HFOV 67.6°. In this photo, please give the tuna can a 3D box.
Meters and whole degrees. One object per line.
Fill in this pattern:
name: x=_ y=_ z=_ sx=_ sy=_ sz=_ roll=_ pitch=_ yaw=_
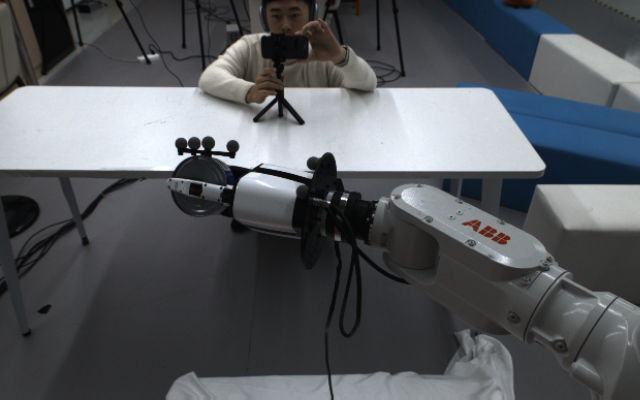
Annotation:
tuna can: x=-0.164 y=-0.019 z=0.681 sx=0.085 sy=0.085 sz=0.034 roll=12 pitch=2 yaw=14
